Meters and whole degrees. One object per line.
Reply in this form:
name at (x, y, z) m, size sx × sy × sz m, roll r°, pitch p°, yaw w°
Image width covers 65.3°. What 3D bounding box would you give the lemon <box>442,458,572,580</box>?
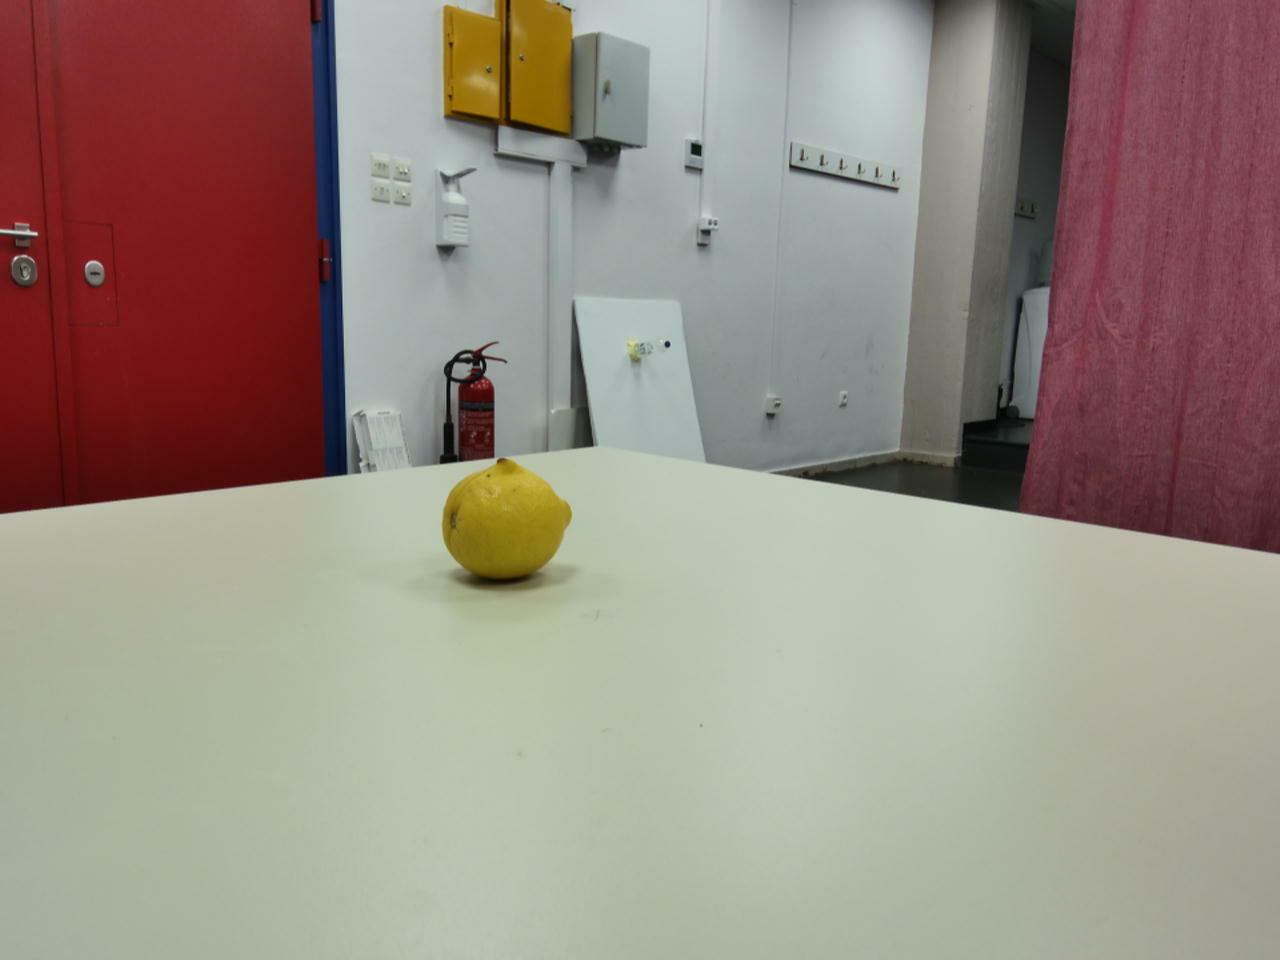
lemon at (-0.080, 0.023, 0.590) m, size 0.071 × 0.071 × 0.070 m, roll 1°, pitch 8°, yaw 9°
